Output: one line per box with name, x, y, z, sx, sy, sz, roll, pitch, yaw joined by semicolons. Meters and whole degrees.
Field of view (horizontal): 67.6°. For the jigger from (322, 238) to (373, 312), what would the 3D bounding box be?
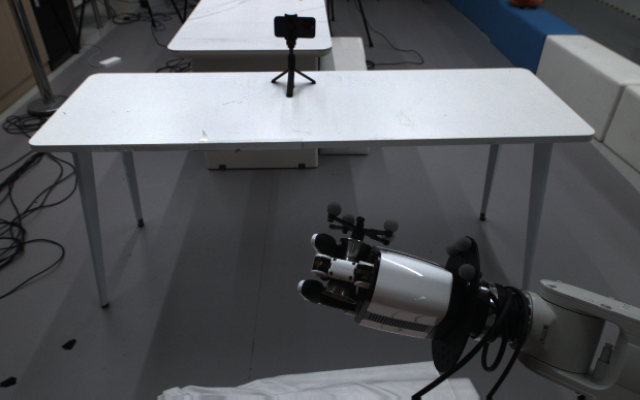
jigger;0.036;0.083;0.573;0.043;0.043;0.071;12;71;14
